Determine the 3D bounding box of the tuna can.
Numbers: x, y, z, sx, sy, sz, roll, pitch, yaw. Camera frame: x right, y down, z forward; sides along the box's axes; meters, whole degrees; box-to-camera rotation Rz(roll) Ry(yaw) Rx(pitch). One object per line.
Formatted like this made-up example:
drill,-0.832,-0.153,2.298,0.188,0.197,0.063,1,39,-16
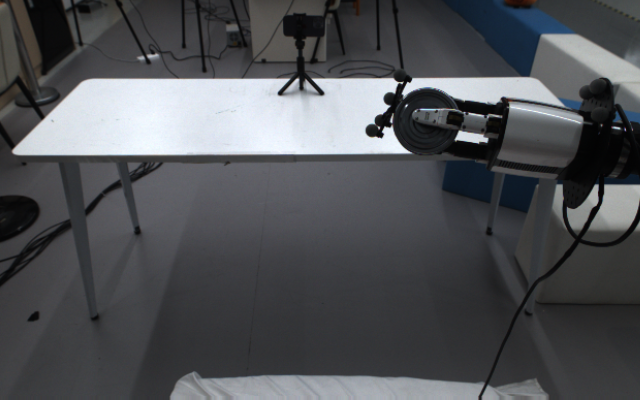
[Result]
tuna can,0.139,-0.104,0.632,0.085,0.085,0.034,8,5,8
